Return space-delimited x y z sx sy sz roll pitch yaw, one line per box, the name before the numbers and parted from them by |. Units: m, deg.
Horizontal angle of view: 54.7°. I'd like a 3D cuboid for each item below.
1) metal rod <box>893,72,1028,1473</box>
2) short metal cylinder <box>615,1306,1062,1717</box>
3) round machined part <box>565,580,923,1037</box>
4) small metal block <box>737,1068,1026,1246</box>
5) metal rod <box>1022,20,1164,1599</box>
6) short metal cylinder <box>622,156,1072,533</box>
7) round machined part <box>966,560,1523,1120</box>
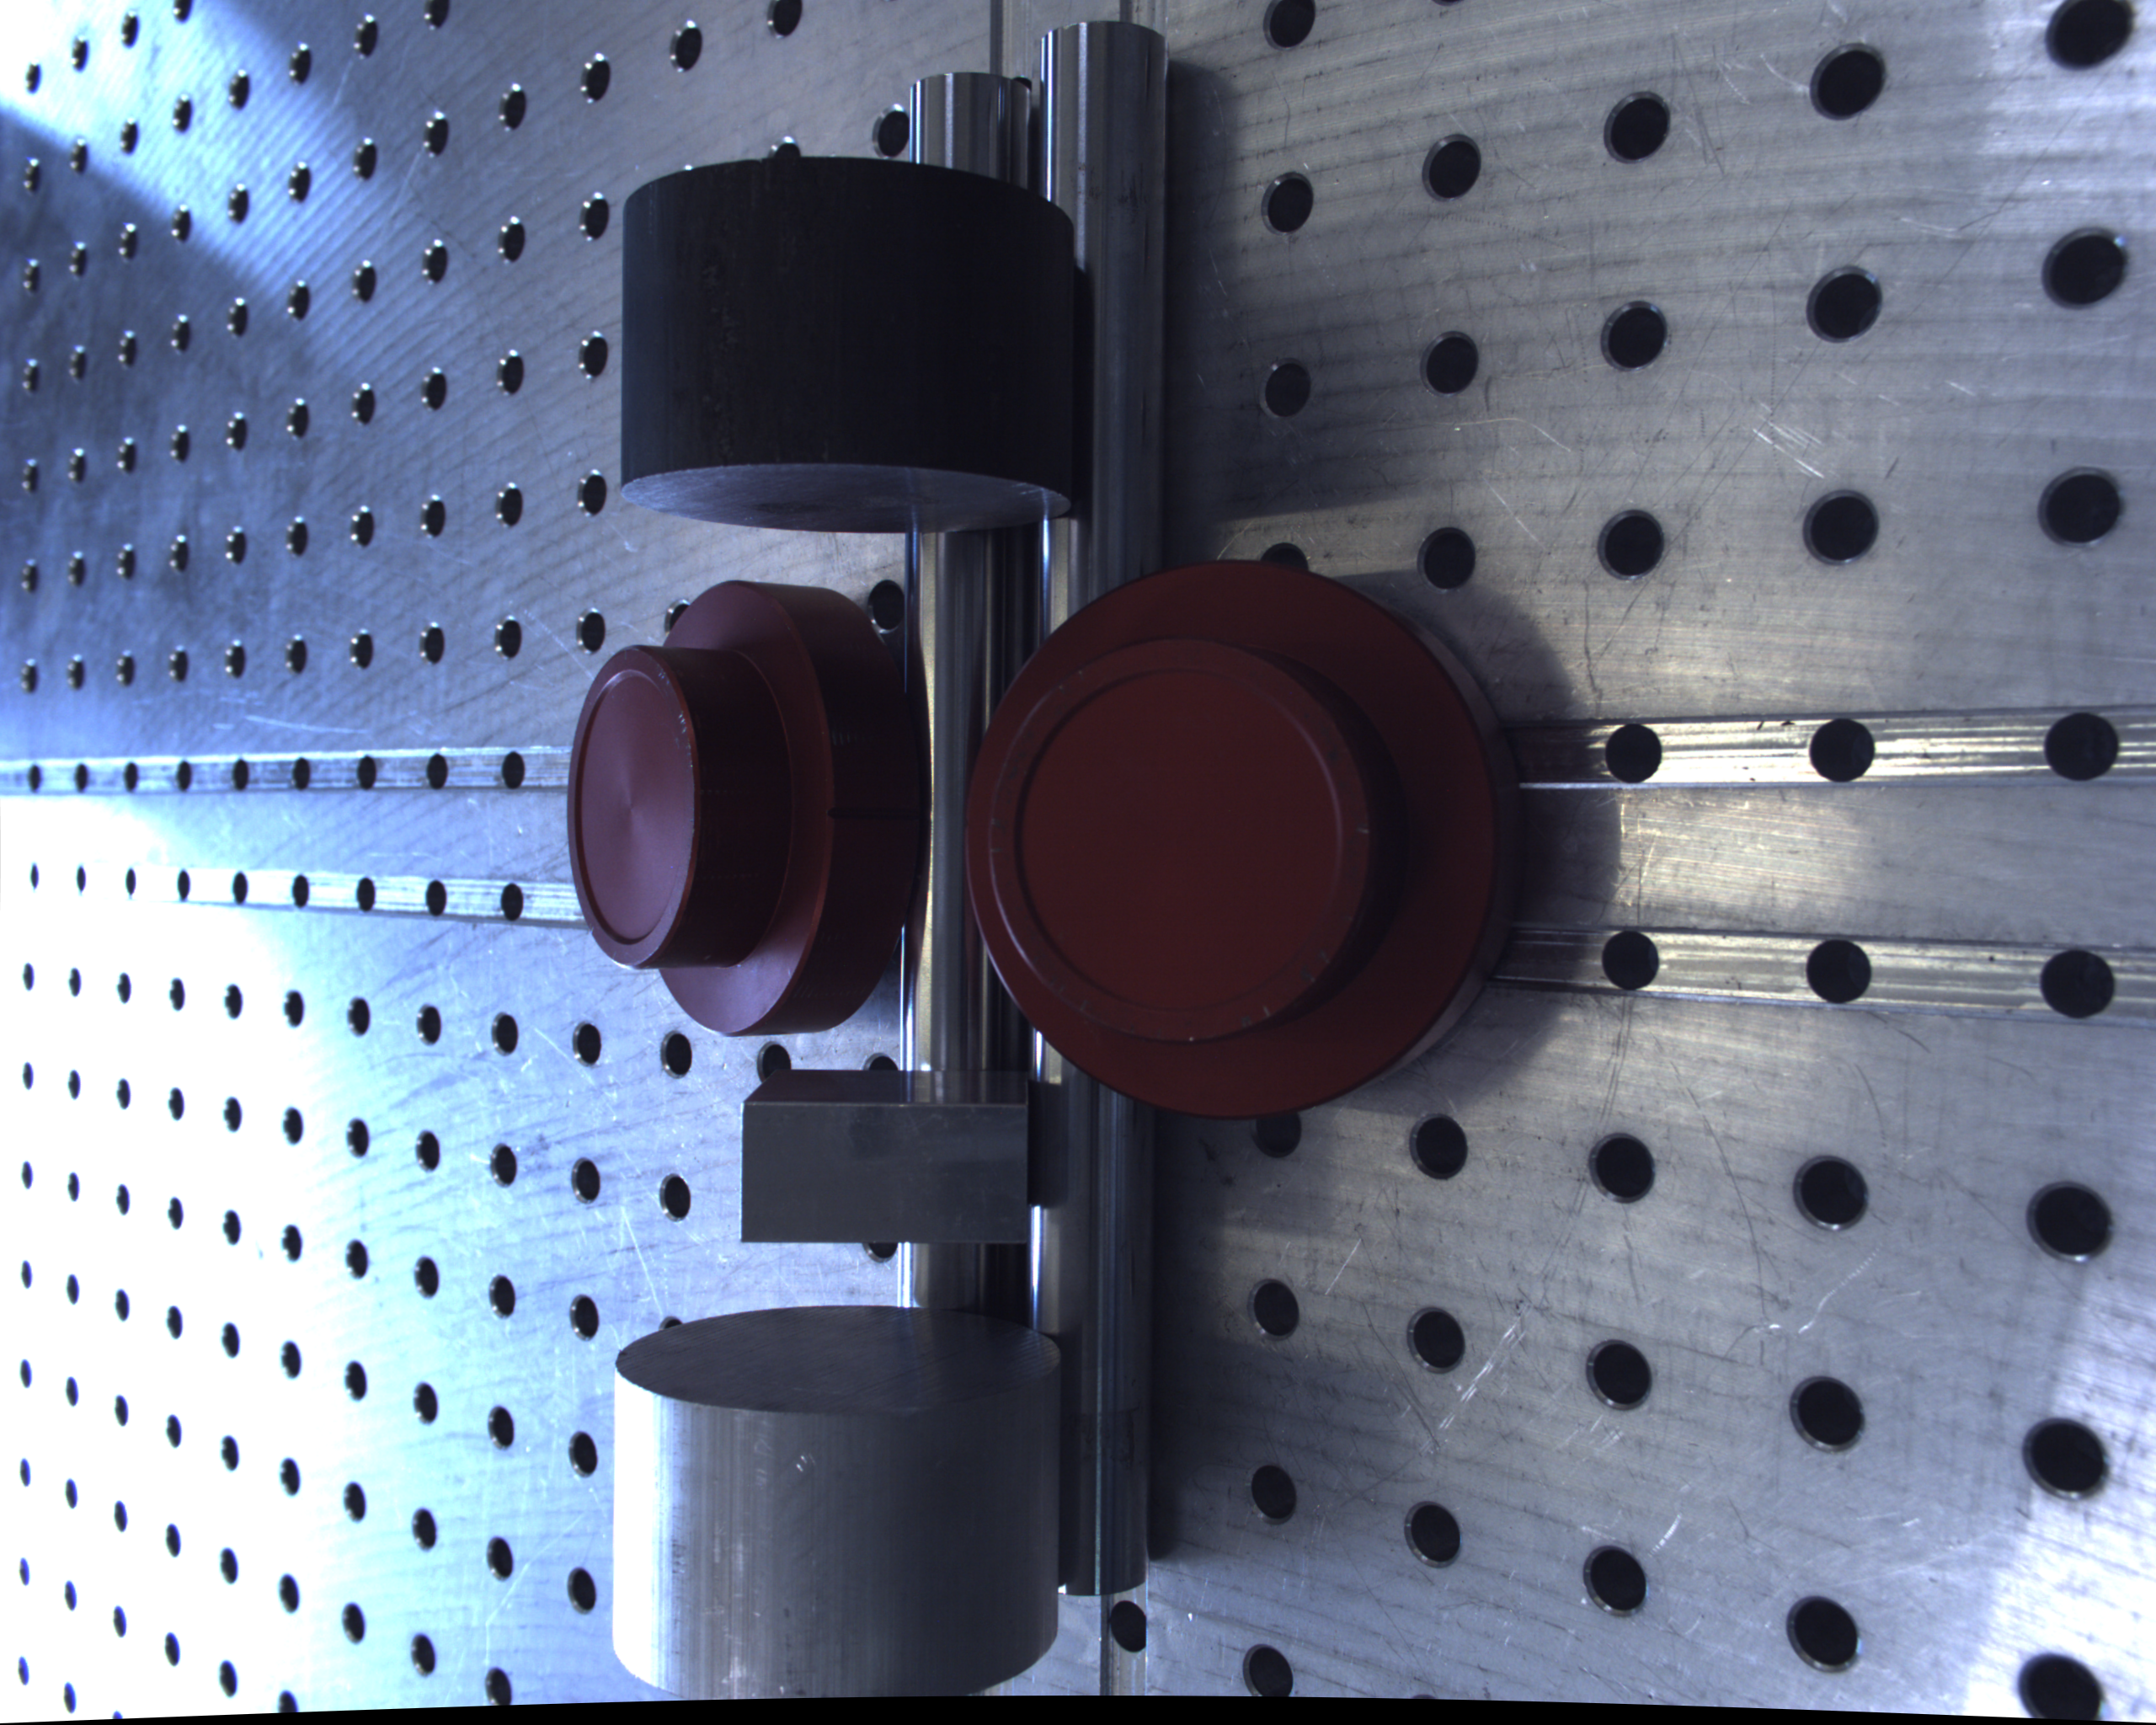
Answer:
metal rod | -0.024 -0.008 0.429 0.025 0.025 0.298 1 91 40
short metal cylinder | -0.043 0.115 0.381 0.080 0.081 0.050 1 91 40
round machined part | -0.077 -0.011 0.446 0.098 0.042 0.097 0 90 54
small metal block | -0.035 0.054 0.392 0.050 0.050 0.025 1 91 -2
metal rod | 0.003 -0.010 0.406 0.025 0.025 0.298 1 91 40
short metal cylinder | -0.041 -0.090 0.379 0.080 0.081 0.050 1 91 40
round machined part | 0.024 -0.004 0.361 0.098 0.042 0.097 0 90 25
